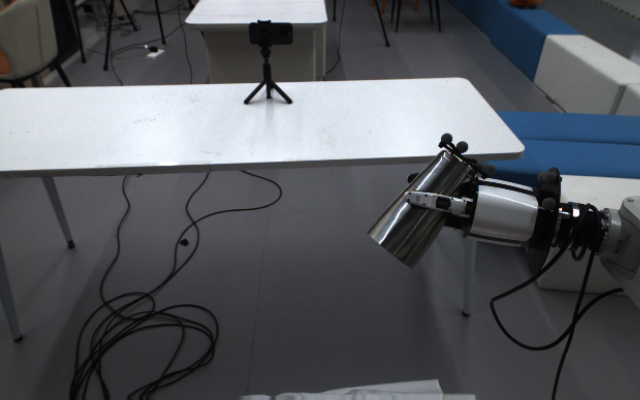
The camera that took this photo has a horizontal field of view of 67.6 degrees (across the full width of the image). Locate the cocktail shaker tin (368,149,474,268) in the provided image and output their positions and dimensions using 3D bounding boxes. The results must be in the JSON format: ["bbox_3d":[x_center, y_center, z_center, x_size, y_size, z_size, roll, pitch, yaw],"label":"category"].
[{"bbox_3d":[0.159,0.007,0.739,0.170,0.093,0.093,-50,46,4],"label":"cocktail shaker tin"}]
